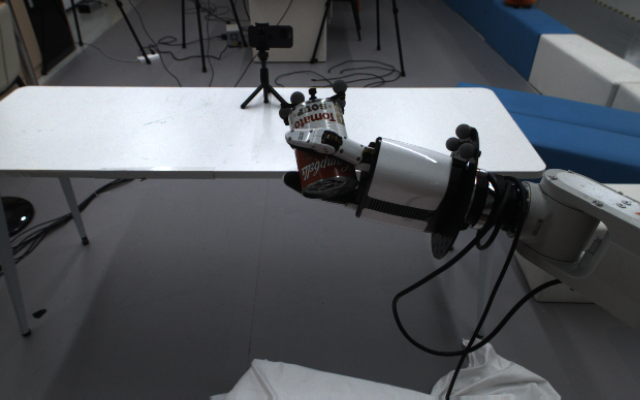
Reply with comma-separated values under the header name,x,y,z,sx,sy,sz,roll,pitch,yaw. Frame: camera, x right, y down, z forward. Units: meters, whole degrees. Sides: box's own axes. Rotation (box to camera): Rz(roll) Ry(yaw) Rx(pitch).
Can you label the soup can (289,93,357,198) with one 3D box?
name,x,y,z,sx,sy,sz,roll,pitch,yaw
soup can,0.004,-0.061,0.579,0.067,0.067,0.101,-8,74,-14
